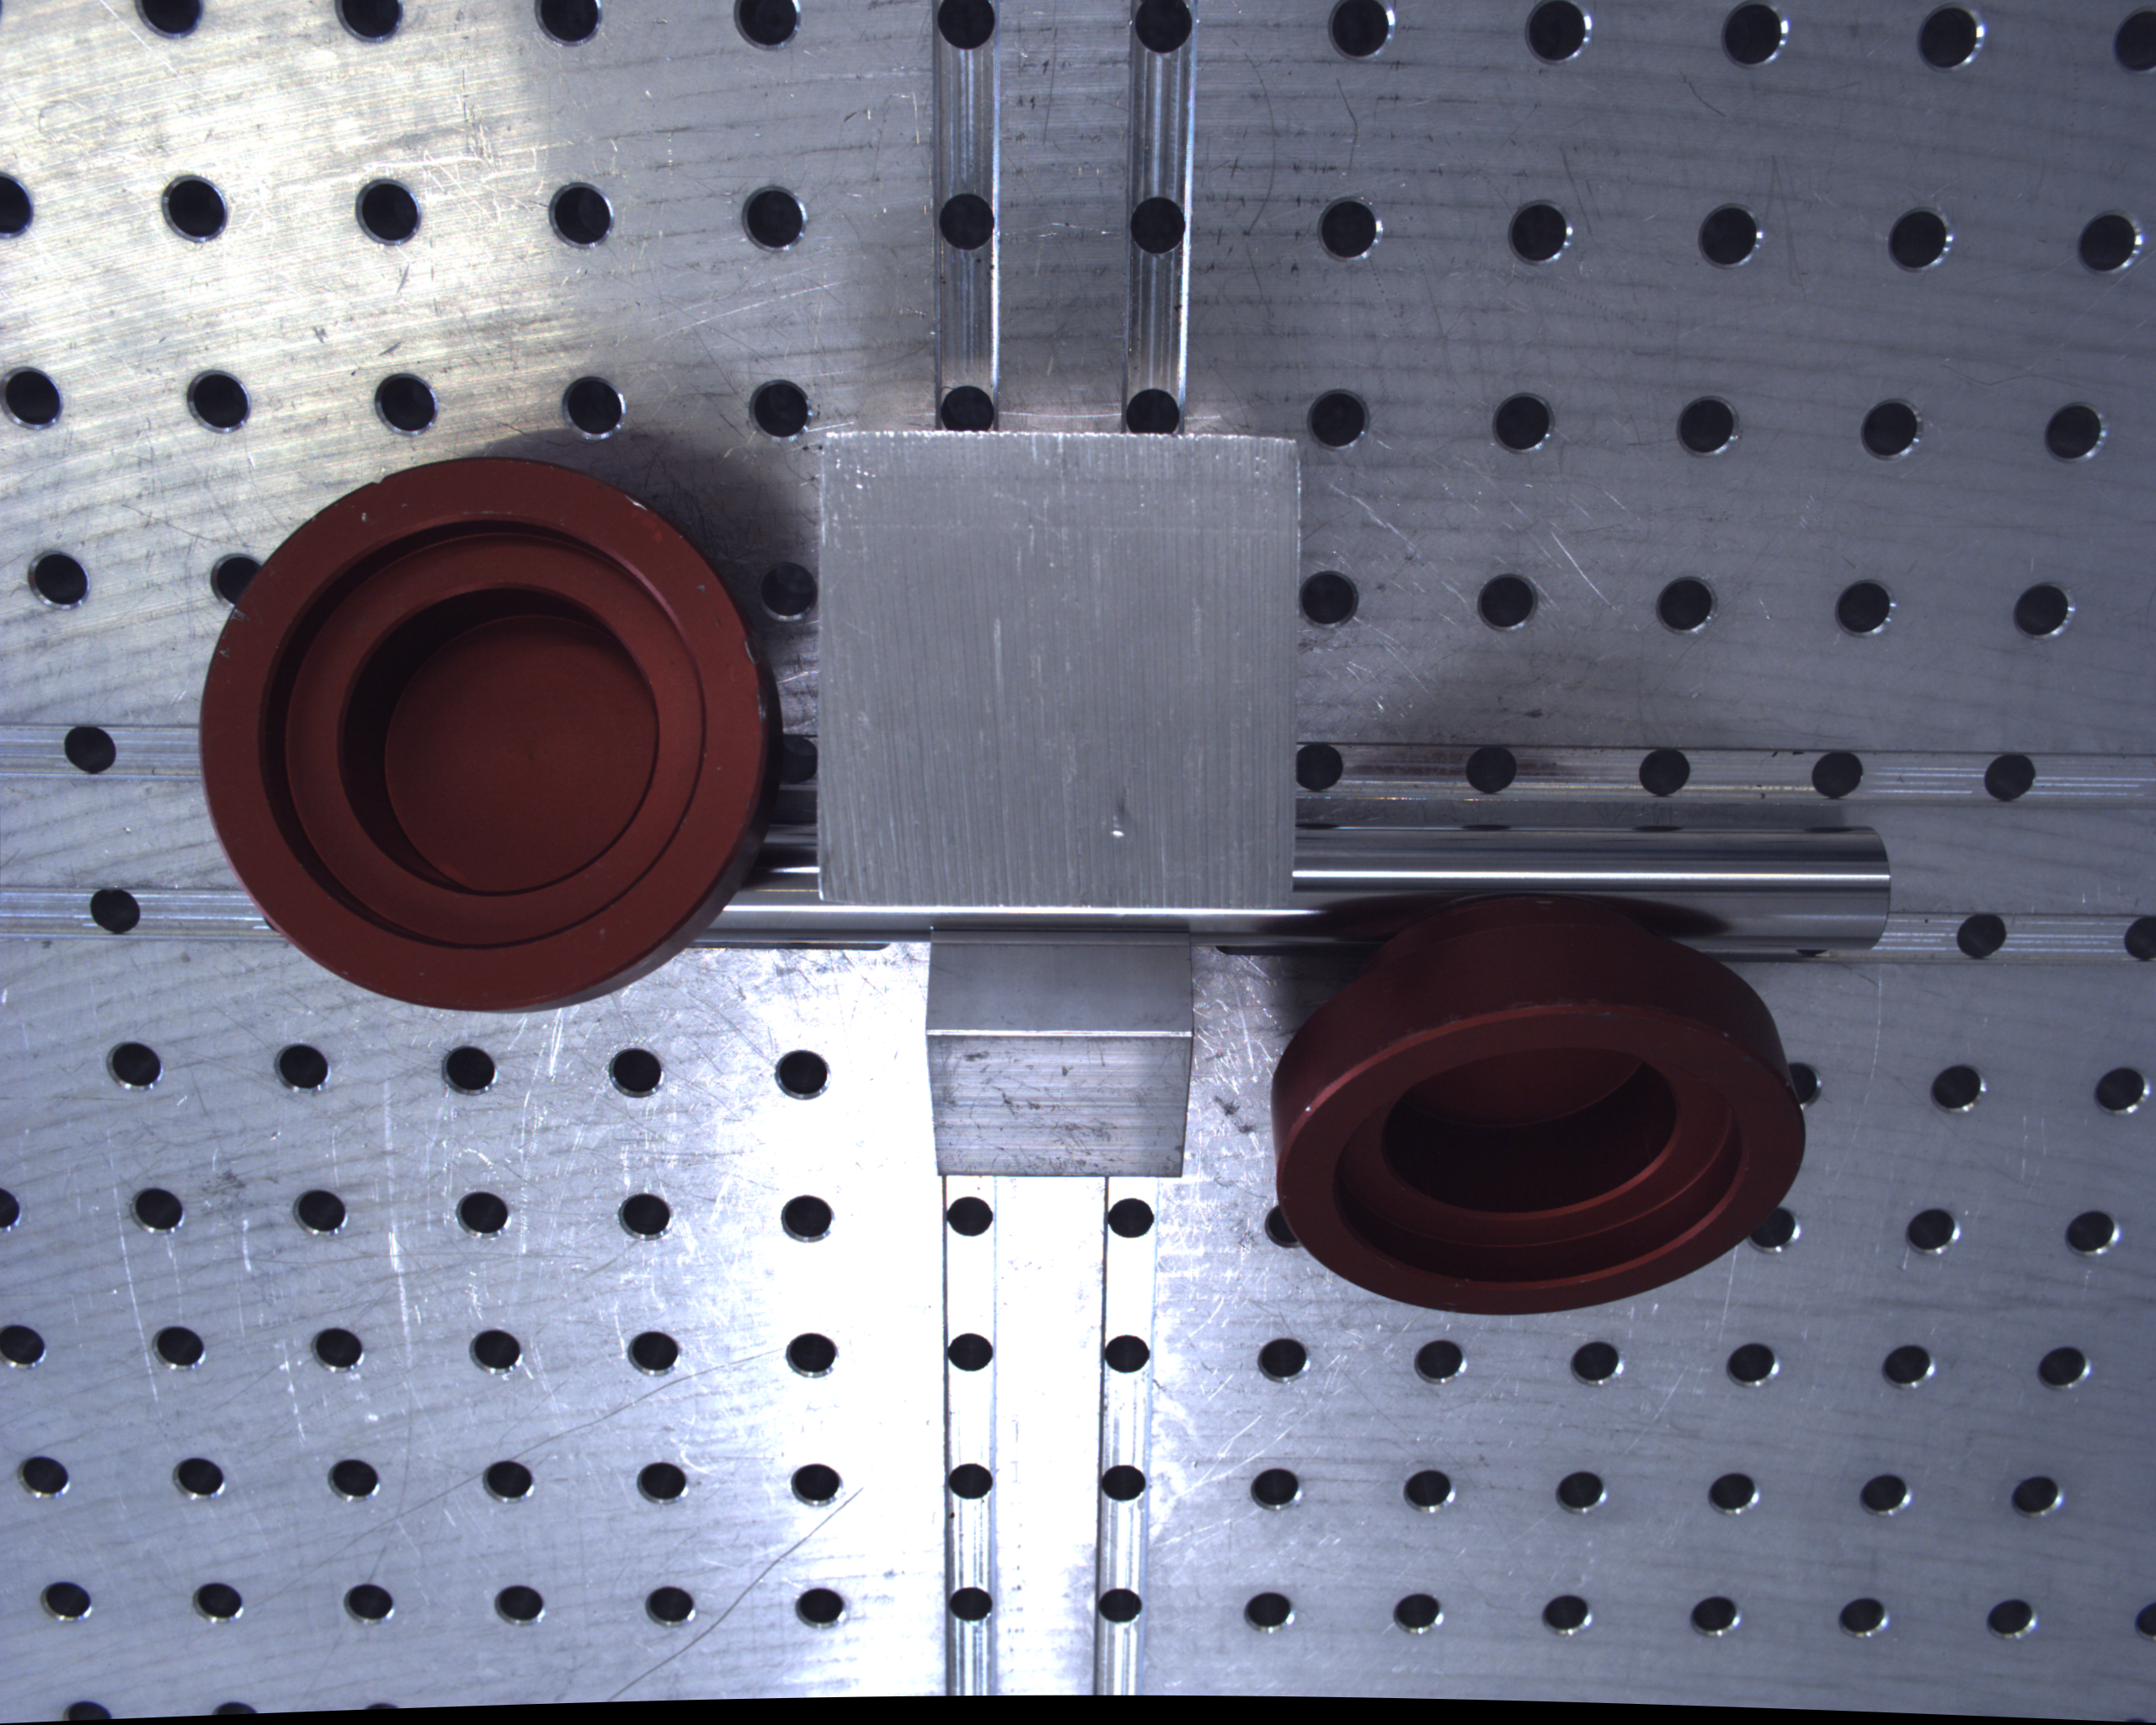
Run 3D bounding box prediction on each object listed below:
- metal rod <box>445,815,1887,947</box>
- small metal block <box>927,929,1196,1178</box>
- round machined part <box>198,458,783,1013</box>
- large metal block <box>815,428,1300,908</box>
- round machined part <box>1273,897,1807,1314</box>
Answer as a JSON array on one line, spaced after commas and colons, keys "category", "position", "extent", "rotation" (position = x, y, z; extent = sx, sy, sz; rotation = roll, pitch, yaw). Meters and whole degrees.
[{"category": "metal rod", "position": [0.006, 0.003, 0.415], "extent": [0.302, 0.025, 0.025], "rotation": [0, 110, -1]}, {"category": "small metal block", "position": [-0.003, 0.039, 0.417], "extent": [0.050, 0.025, 0.050], "rotation": [1, 139, -1]}, {"category": "round machined part", "position": [-0.103, -0.021, 0.382], "extent": [0.099, 0.042, 0.097], "rotation": [0, 84, -1]}, {"category": "large metal block", "position": [-0.004, -0.033, 0.376], "extent": [0.081, 0.050, 0.079], "rotation": [1, 92, -1]}, {"category": "round machined part", "position": [0.087, 0.044, 0.408], "extent": [0.099, 0.042, 0.097], "rotation": [0, 136, 0]}]
